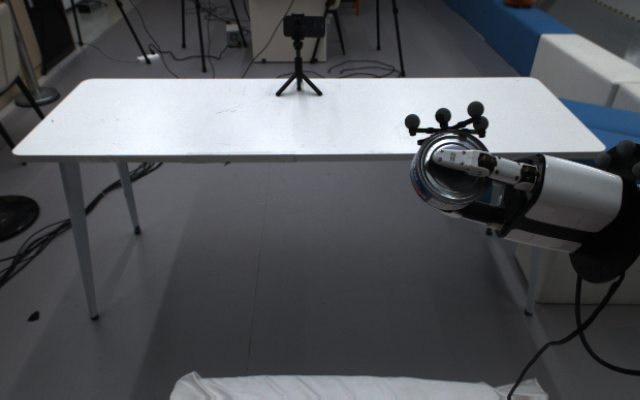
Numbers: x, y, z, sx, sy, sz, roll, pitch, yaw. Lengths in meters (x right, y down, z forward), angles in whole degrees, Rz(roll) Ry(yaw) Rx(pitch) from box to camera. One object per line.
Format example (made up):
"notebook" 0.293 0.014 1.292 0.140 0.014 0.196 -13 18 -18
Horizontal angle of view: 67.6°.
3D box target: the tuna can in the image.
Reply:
"tuna can" 0.147 -0.036 0.540 0.085 0.034 0.085 1 72 -4
